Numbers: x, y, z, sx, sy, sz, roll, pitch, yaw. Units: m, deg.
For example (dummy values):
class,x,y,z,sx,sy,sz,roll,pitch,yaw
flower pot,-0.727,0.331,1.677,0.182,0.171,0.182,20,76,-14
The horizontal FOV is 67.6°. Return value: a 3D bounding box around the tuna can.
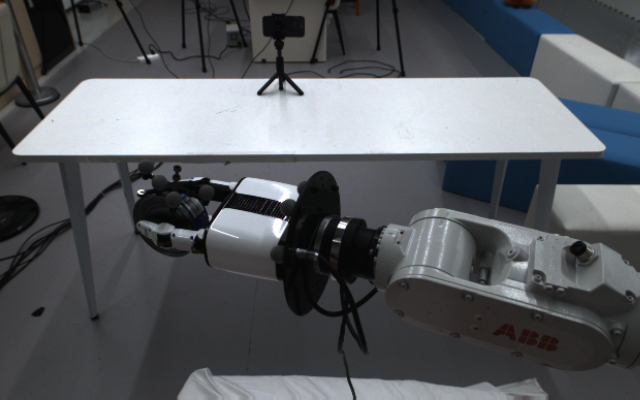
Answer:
class,x,y,z,sx,sy,sz,roll,pitch,yaw
tuna can,-0.175,0.029,0.579,0.085,0.085,0.034,13,30,15
